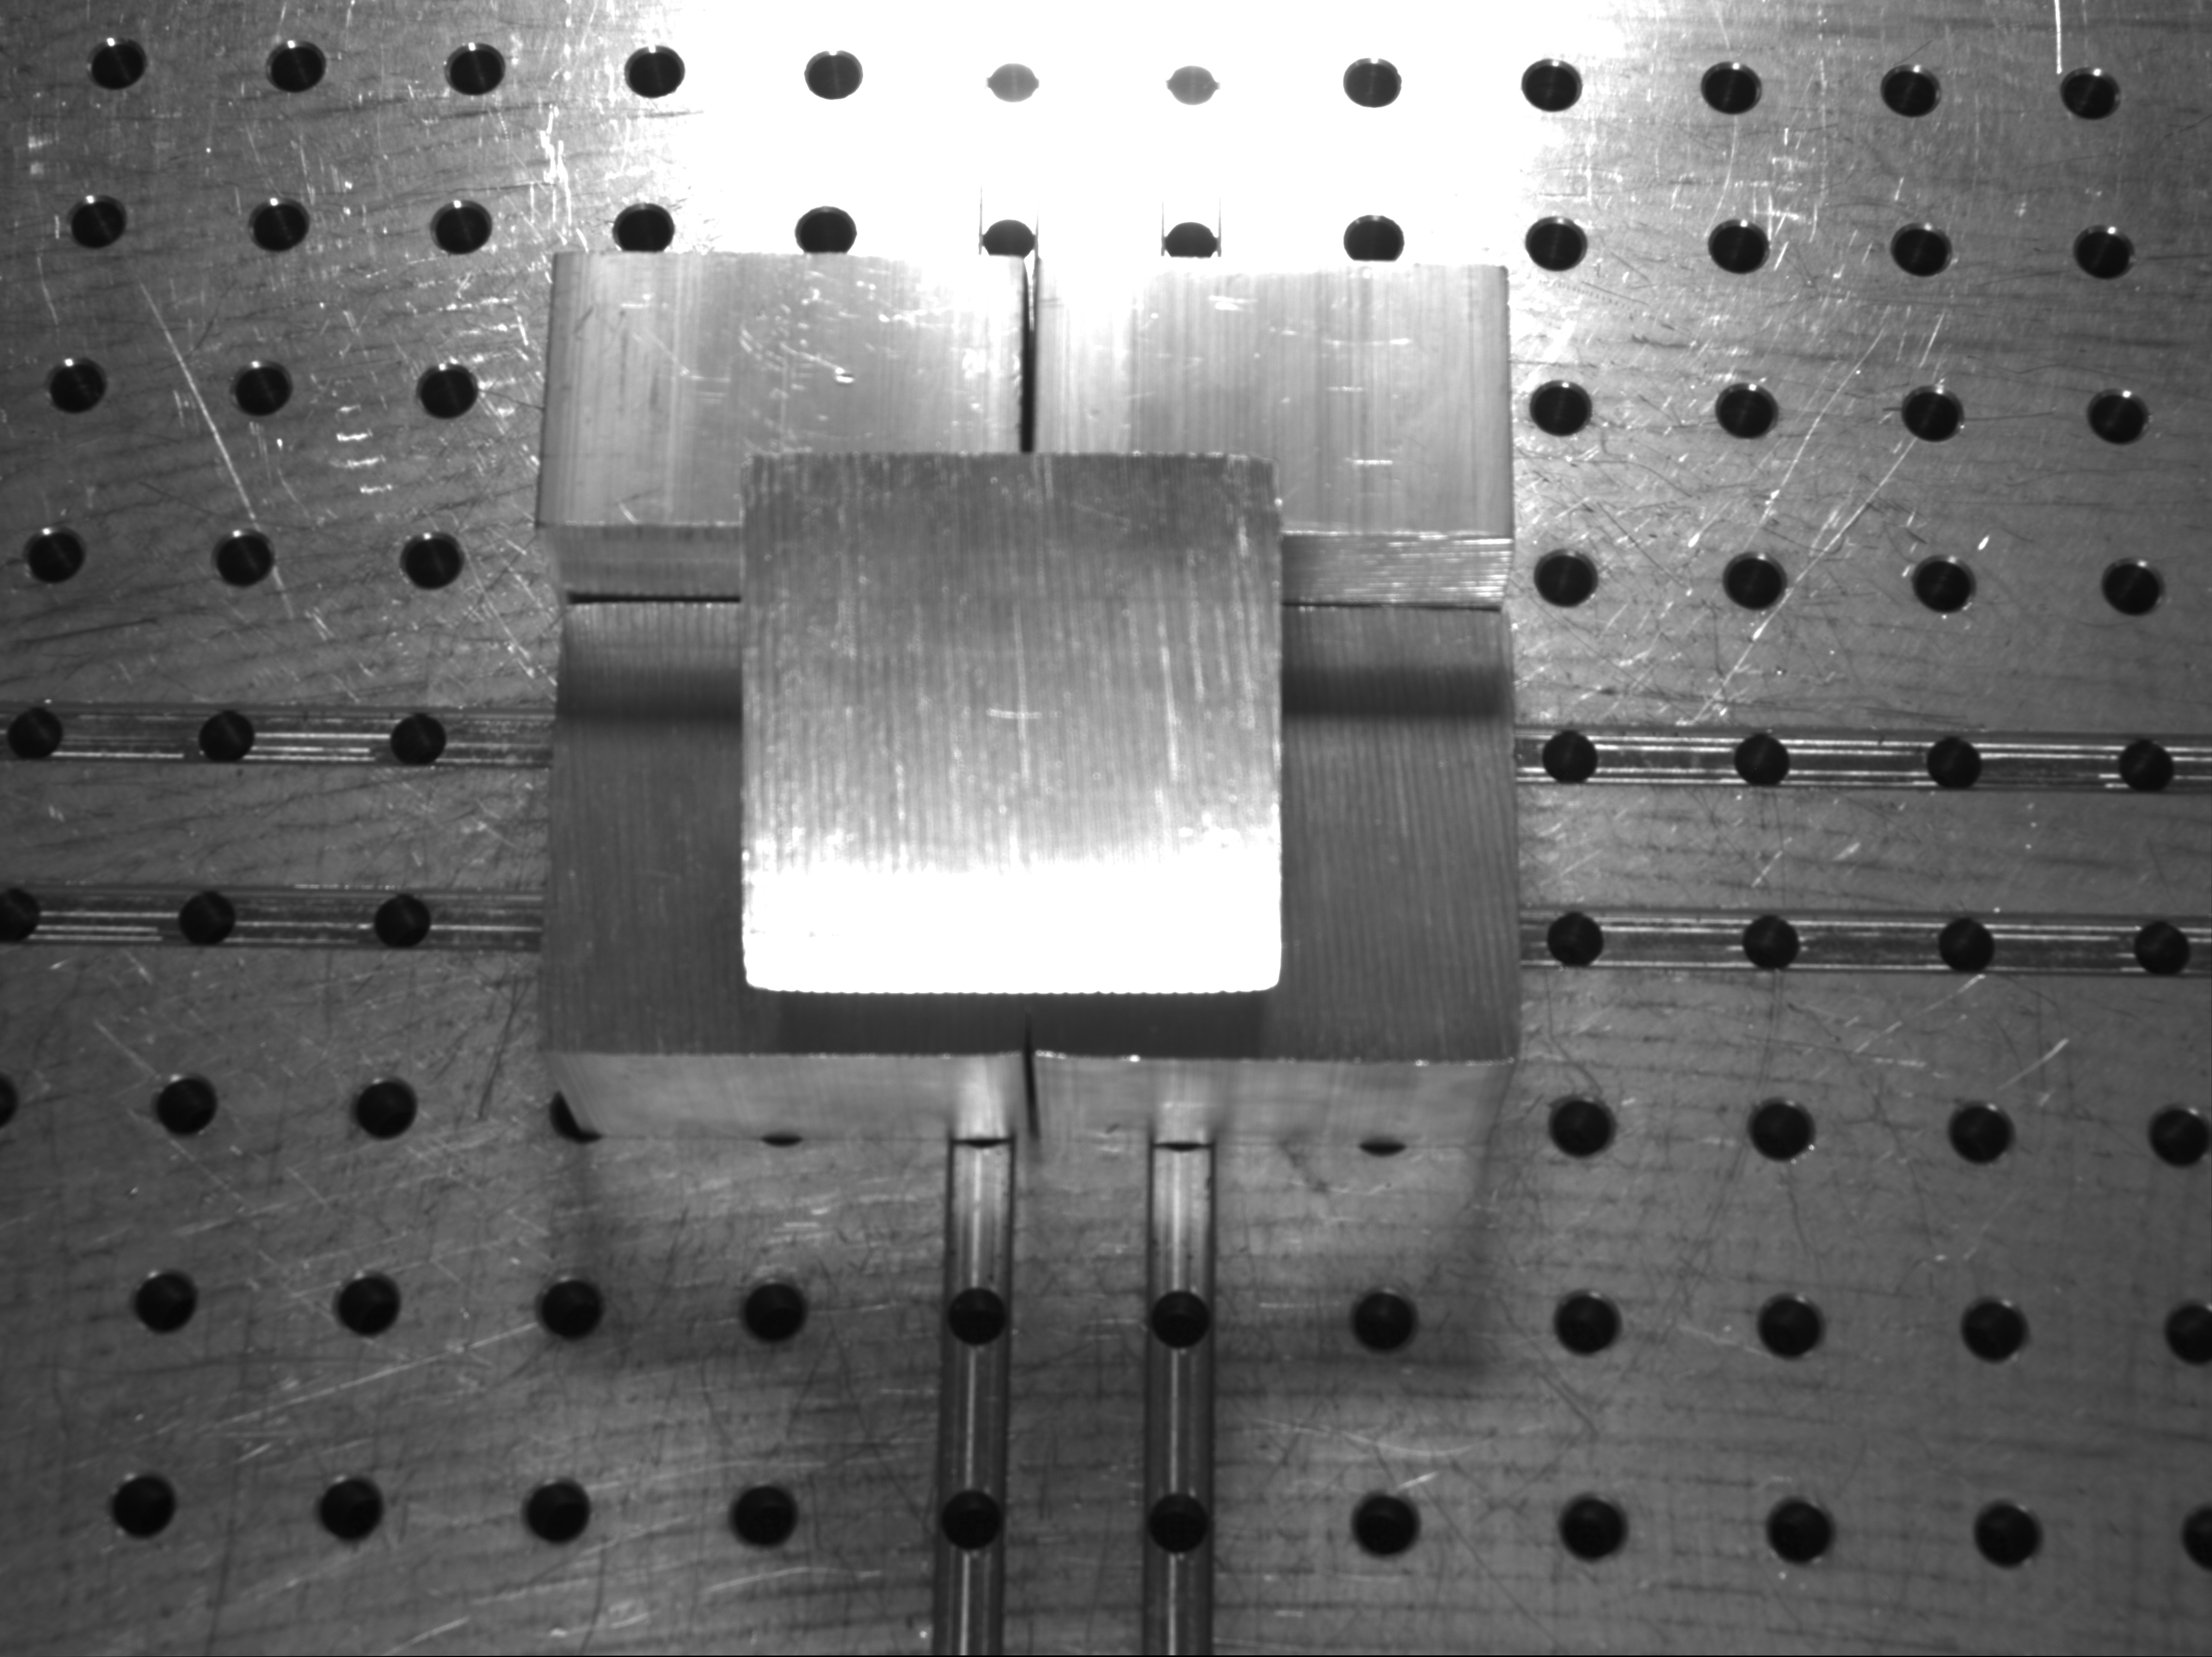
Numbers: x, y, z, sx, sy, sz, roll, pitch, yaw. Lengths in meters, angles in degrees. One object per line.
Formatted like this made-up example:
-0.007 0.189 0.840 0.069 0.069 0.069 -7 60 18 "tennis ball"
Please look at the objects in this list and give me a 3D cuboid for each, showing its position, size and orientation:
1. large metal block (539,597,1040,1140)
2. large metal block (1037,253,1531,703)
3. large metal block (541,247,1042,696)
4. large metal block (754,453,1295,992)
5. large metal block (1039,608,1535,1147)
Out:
-0.051 0.008 0.629 0.080 0.050 0.080 1 70 0 "large metal block"
0.029 -0.058 0.638 0.080 0.080 0.050 1 70 0 "large metal block"
-0.051 -0.059 0.639 0.080 0.080 0.050 1 70 0 "large metal block"
-0.012 -0.017 0.569 0.080 0.050 0.080 0 94 0 "large metal block"
0.030 0.009 0.628 0.080 0.050 0.080 1 70 0 "large metal block"
